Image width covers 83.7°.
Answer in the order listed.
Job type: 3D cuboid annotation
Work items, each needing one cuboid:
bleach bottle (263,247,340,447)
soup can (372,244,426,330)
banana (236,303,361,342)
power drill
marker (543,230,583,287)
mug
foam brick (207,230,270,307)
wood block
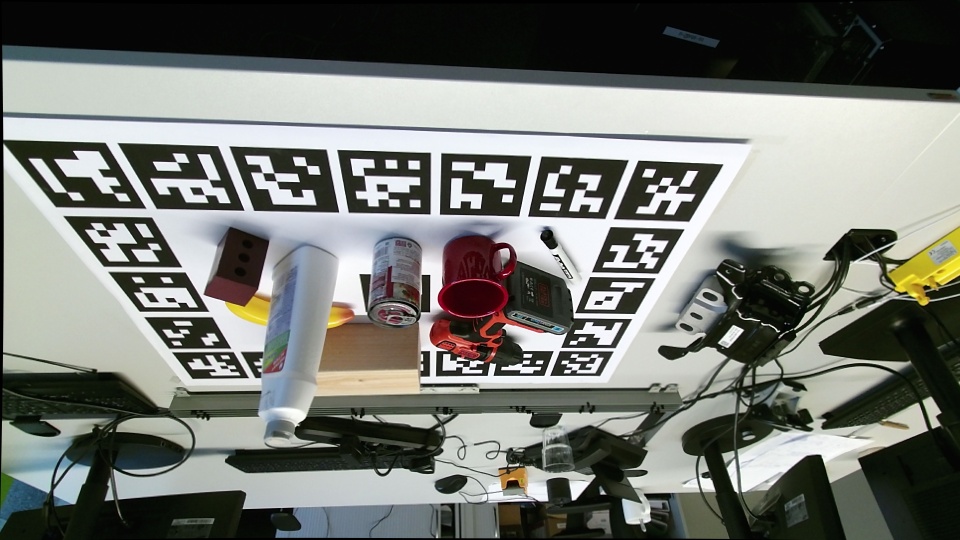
[{"bbox_3d":[-0.230,0.096,0.674,0.068,0.249,0.103,20,137,-28],"label":"bleach bottle"},{"bbox_3d":[-0.106,0.025,0.702,0.068,0.101,0.068,-1,146,0],"label":"soup can"},{"bbox_3d":[-0.278,0.079,0.815,0.198,0.038,0.074,12,126,-16],"label":"banana"},{"bbox_3d":[0.037,0.088,0.847,0.185,0.057,0.187,23,136,-25],"label":"power drill"},{"bbox_3d":[0.116,-0.016,0.746,0.020,0.019,0.121,-20,138,17],"label":"marker"},{"bbox_3d":[0.002,0.012,0.717,0.117,0.081,0.093,-33,131,28],"label":"mug"},{"bbox_3d":[-0.310,-0.002,0.685,0.053,0.077,0.051,23,137,-32],"label":"foam brick"},{"bbox_3d":[-0.202,0.152,0.878,0.207,0.090,0.090,0,141,-4],"label":"wood block"}]
